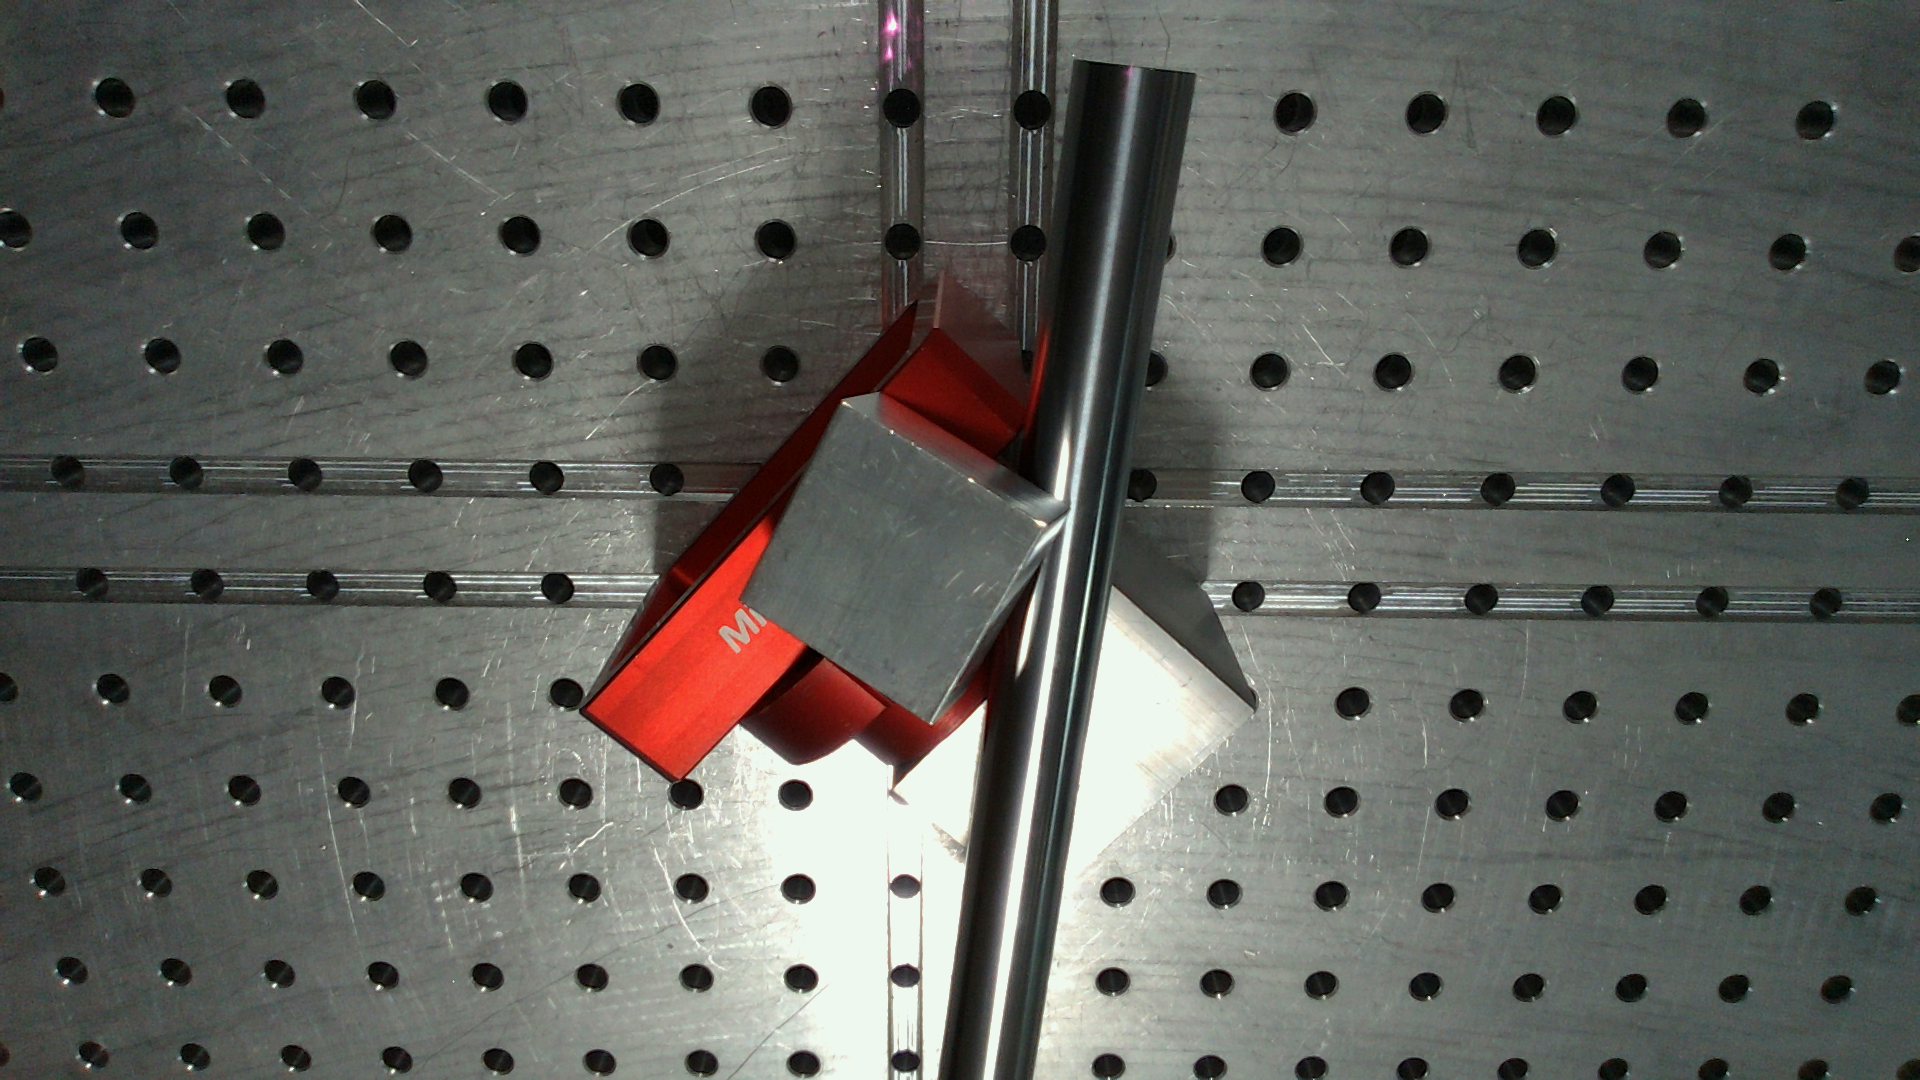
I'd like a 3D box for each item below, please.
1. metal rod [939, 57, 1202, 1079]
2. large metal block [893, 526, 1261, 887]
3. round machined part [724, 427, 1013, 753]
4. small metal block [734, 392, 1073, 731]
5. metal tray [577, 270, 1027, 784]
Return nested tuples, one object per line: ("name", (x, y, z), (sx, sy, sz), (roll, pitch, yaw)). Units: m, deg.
("metal rod", (0.019, 0.044, 0.327), (0.025, 0.025, 0.300), (6, 110, -2))
("large metal block", (0.029, 0.042, 0.380), (0.050, 0.080, 0.080), (41, 105, -14))
("round machined part", (-0.016, 0.017, 0.368), (0.042, 0.098, 0.098), (40, 105, -13))
("small metal block", (-0.012, 0.003, 0.294), (0.050, 0.025, 0.050), (32, 106, 9))
("metal tray", (-0.038, -0.007, 0.359), (0.030, 0.090, 0.130), (41, 105, -14))
